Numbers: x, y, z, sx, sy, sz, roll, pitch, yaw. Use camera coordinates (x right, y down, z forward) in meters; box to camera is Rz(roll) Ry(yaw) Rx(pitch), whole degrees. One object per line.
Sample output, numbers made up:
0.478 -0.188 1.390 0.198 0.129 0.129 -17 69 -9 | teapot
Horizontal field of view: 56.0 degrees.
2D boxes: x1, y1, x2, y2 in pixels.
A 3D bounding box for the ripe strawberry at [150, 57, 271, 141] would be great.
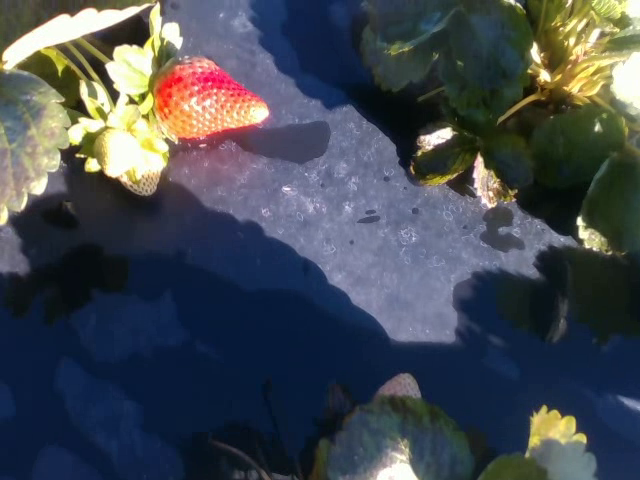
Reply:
-0.053 -0.068 0.297 0.064 0.049 0.052 10 15 1 | ripe strawberry
